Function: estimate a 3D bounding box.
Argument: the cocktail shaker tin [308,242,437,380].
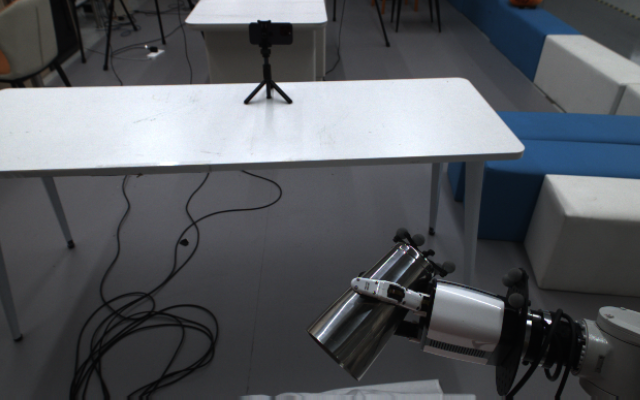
[{"bbox_3d":[0.072,0.134,0.635,0.170,0.093,0.093,-43,50,-14],"label":"cocktail shaker tin"}]
